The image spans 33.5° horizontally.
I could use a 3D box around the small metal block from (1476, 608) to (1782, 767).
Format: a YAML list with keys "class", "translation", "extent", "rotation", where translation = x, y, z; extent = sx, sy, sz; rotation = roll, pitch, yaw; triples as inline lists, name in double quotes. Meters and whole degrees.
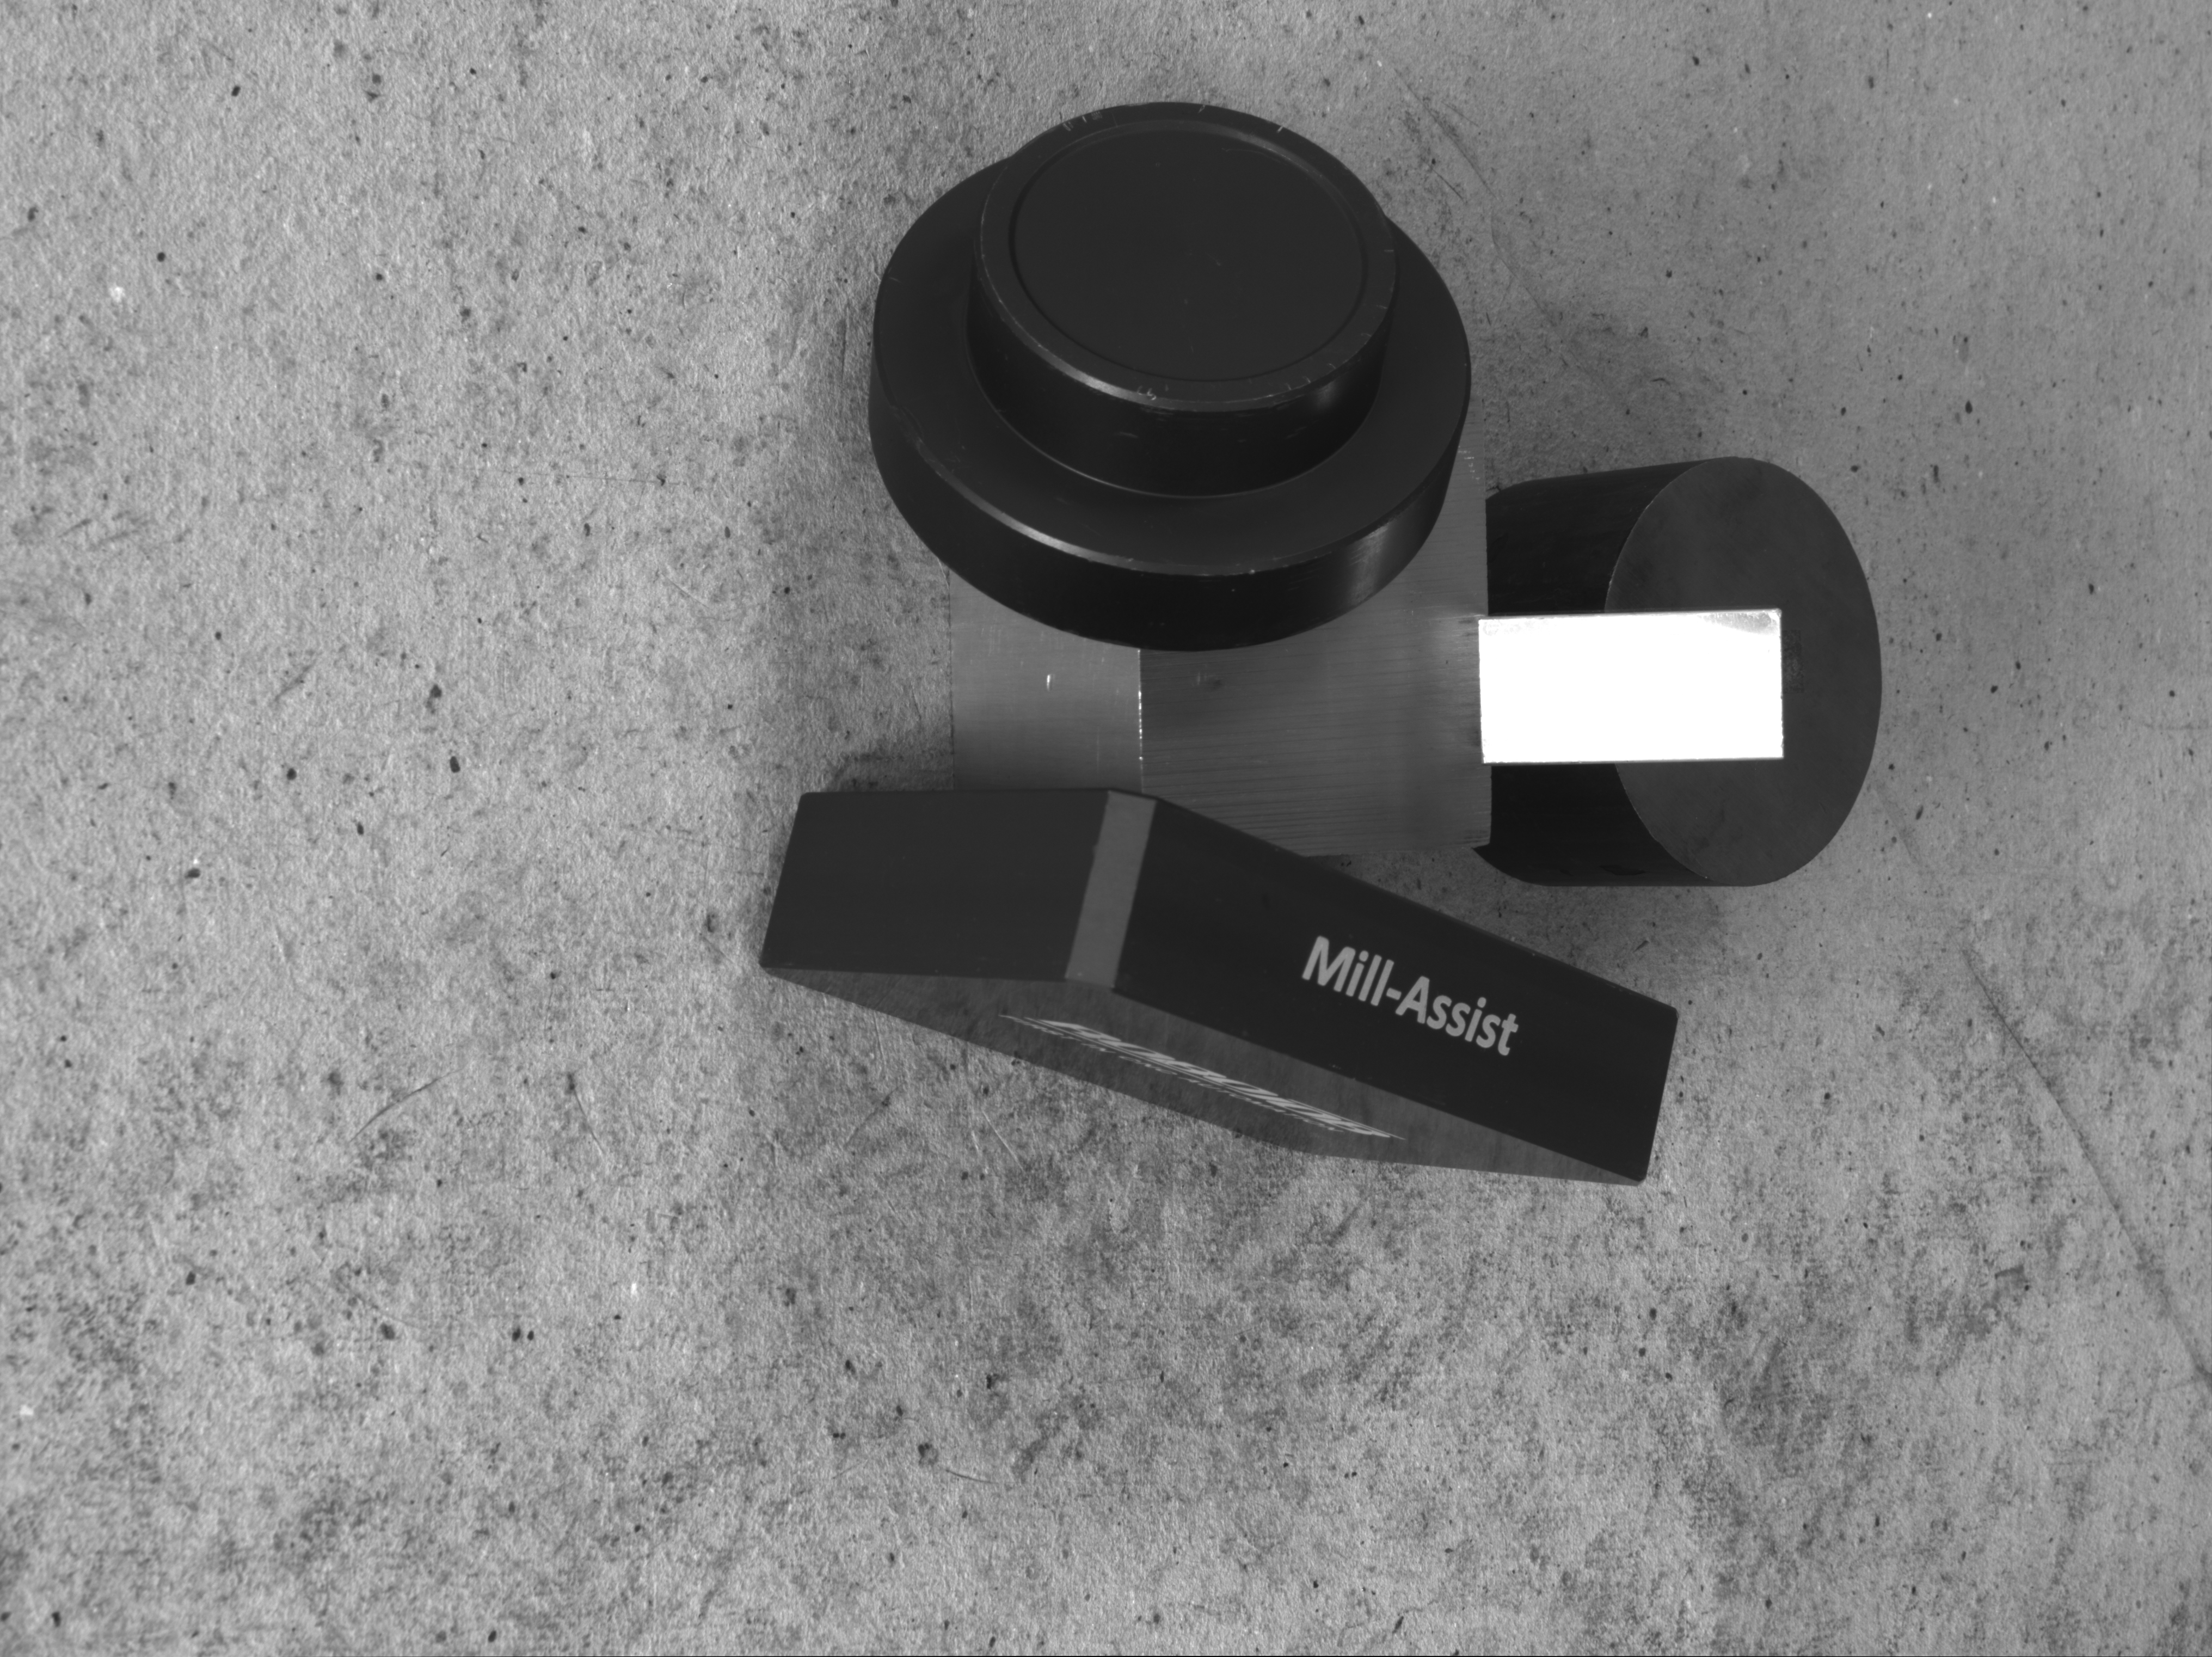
- class: "small metal block"
  translation: [0.091, -0.025, 0.637]
  extent: [0.050, 0.050, 0.025]
  rotation: [-26, 115, -80]

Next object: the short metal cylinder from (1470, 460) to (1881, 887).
- class: "short metal cylinder"
  translation: [0.104, -0.029, 0.708]
  extent: [0.080, 0.050, 0.080]
  rotation: [0, 90, -40]

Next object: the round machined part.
- class: "round machined part"
  translation: [0.011, -0.080, 0.598]
  extent: [0.098, 0.098, 0.042]
  rotation: [-44, 160, -31]

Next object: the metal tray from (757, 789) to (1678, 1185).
- class: "metal tray"
  translation: [0.020, 0.027, 0.610]
  extent: [0.130, 0.090, 0.030]
  rotation: [22, 77, -38]

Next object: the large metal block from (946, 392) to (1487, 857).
- class: "large metal block"
  translation: [0.019, -0.035, 0.638]
  extent: [0.080, 0.050, 0.080]
  rotation: [-2, 91, -40]
